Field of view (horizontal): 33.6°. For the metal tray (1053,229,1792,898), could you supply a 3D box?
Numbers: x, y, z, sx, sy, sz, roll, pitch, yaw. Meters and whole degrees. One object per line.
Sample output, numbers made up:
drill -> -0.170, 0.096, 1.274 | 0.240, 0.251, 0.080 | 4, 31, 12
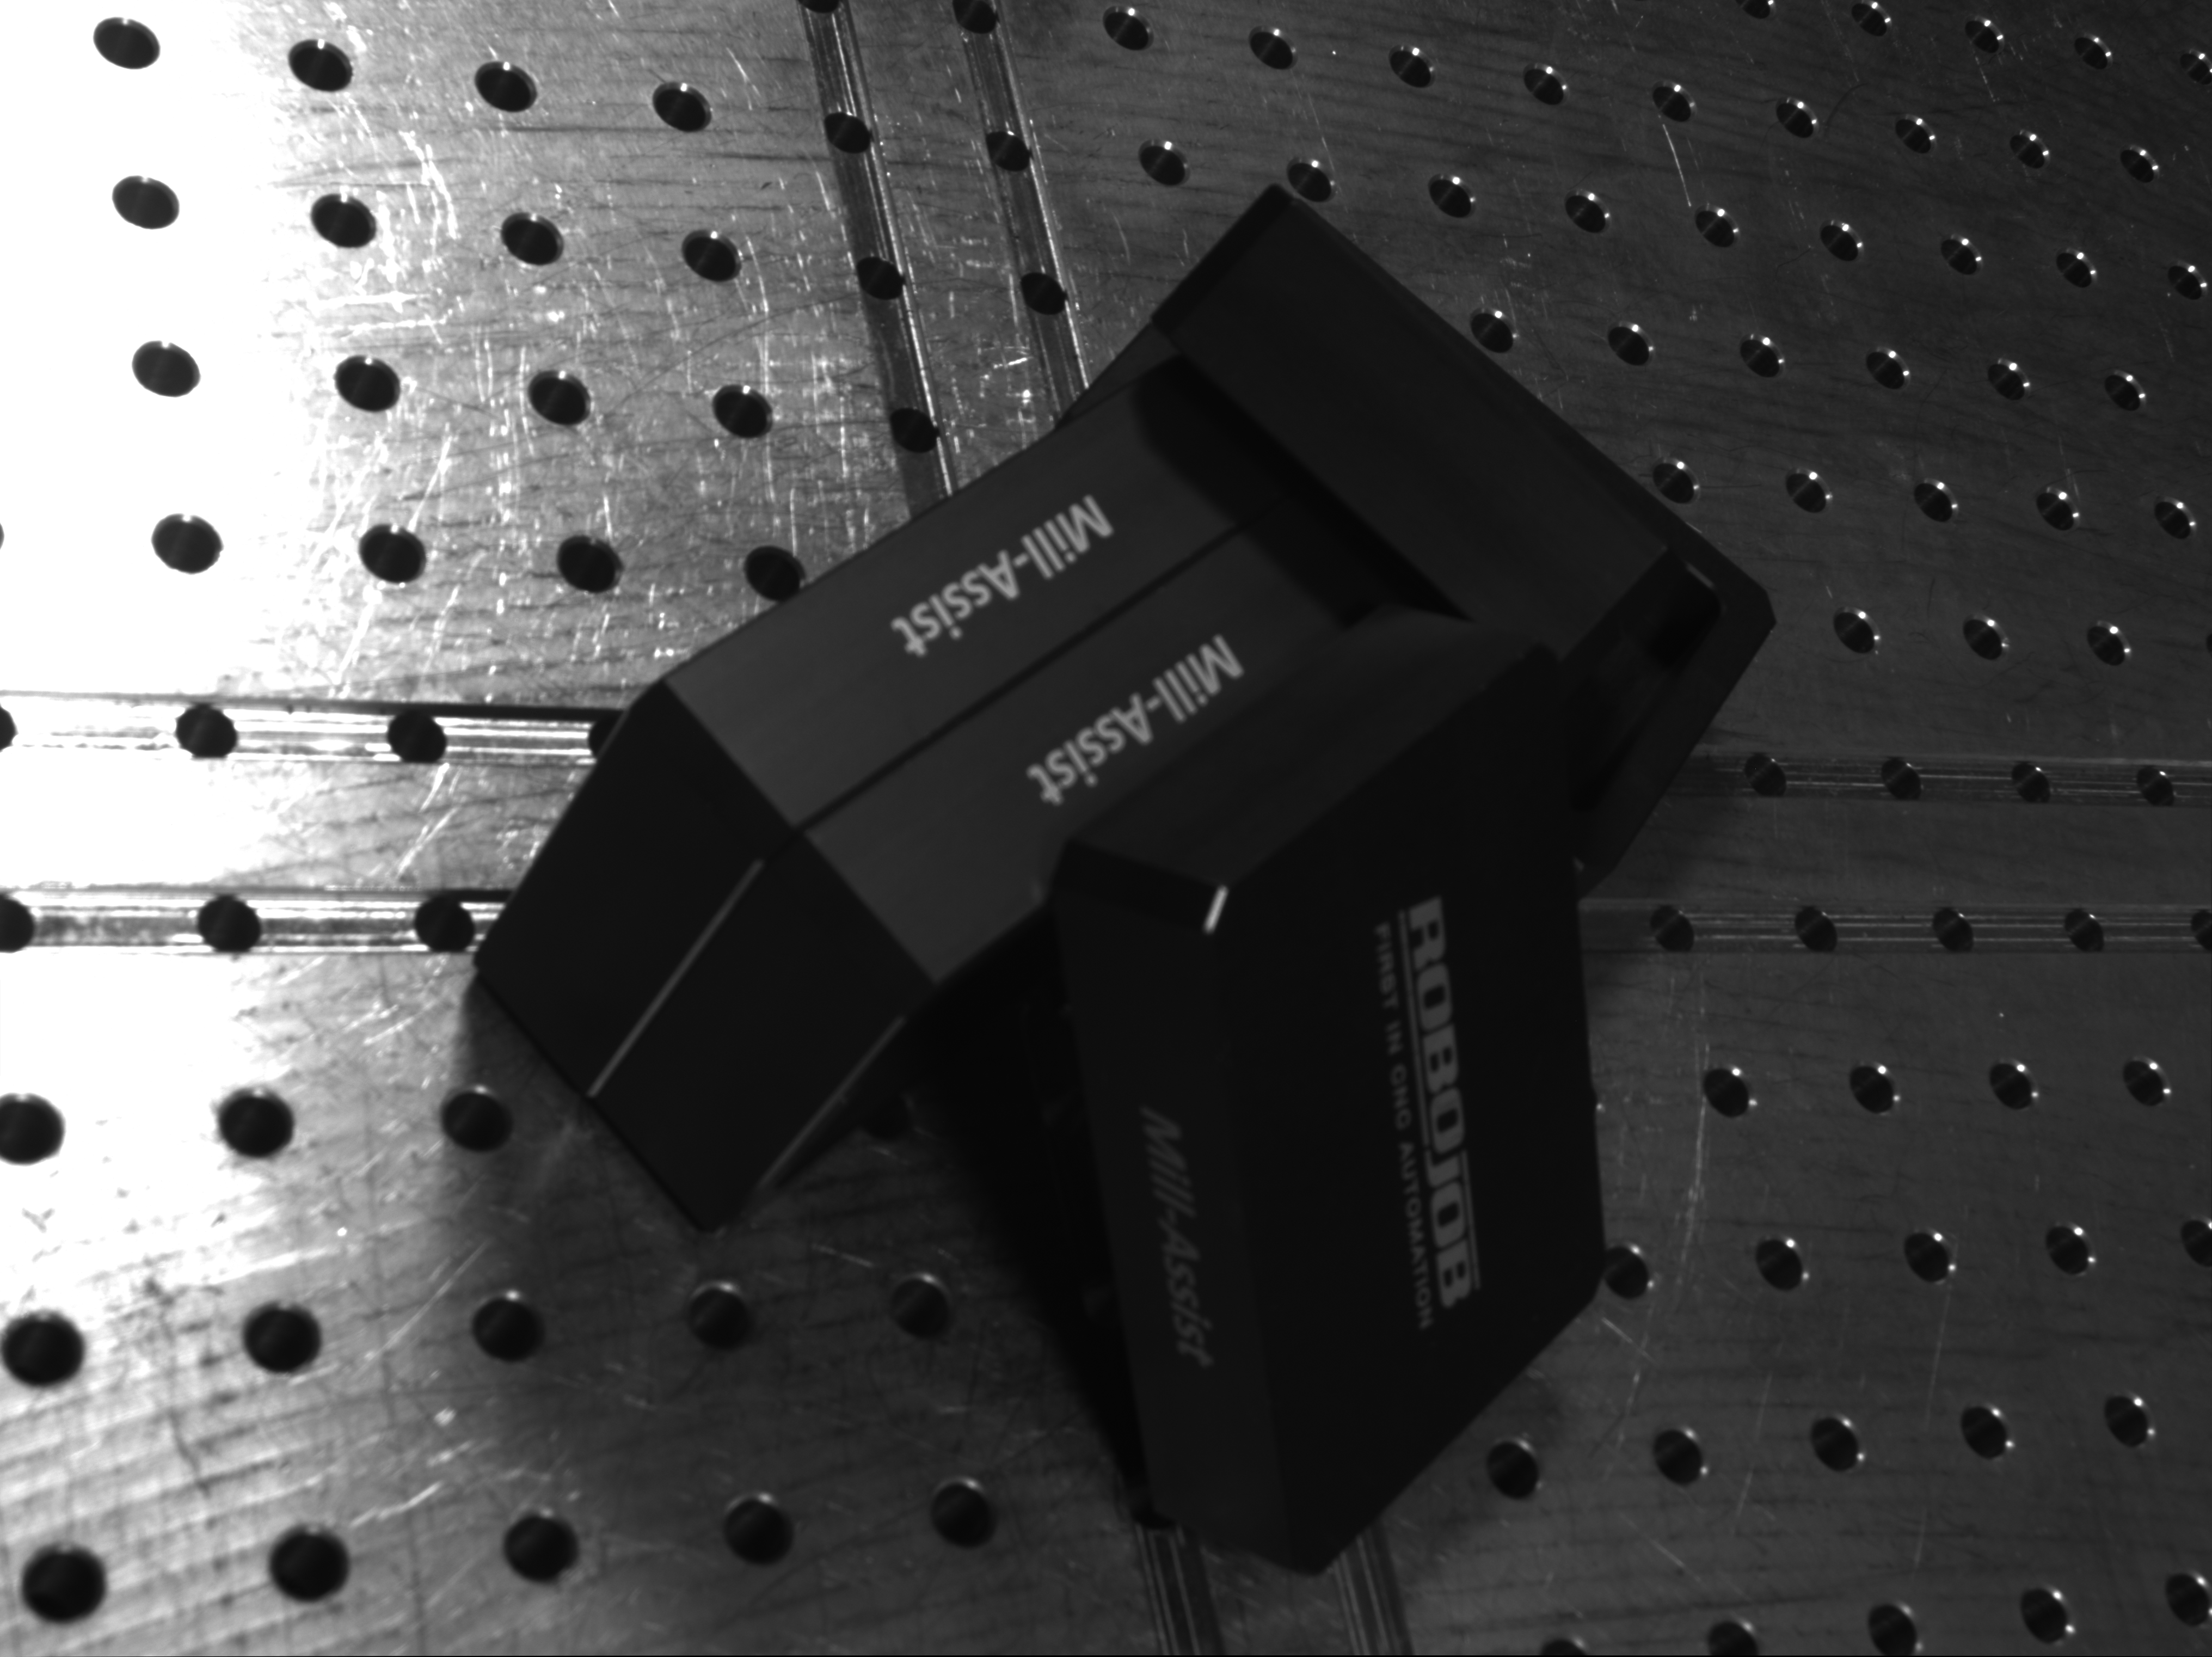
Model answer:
metal tray -> 0.059, -0.051, 0.701 | 0.130, 0.030, 0.090 | 40, 51, -1

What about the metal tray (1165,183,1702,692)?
metal tray -> 0.058, -0.065, 0.641 | 0.090, 0.030, 0.130 | 43, 6, 2

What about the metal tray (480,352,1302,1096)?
metal tray -> -0.034, -0.018, 0.593 | 0.030, 0.090, 0.130 | 48, 51, 6

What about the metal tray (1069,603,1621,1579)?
metal tray -> 0.042, 0.042, 0.580 | 0.030, 0.130, 0.090 | 18, 40, 36

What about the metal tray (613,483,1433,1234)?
metal tray -> -0.012, 0.004, 0.590 | 0.030, 0.090, 0.130 | 48, 51, 6
